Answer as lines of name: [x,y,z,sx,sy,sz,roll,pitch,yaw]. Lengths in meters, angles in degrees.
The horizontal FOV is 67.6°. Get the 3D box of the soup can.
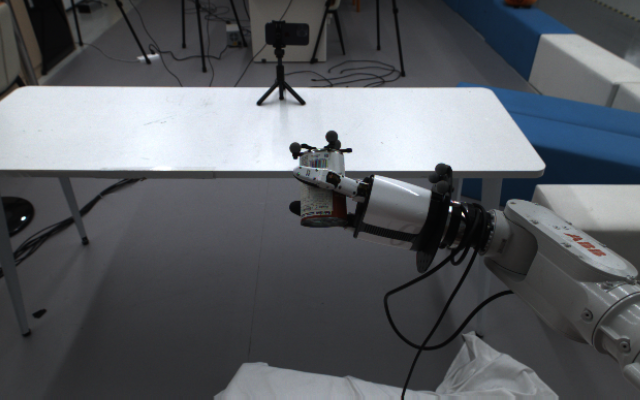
soup can: [0.004,-0.016,0.697,0.067,0.067,0.101,-1,77,-4]
